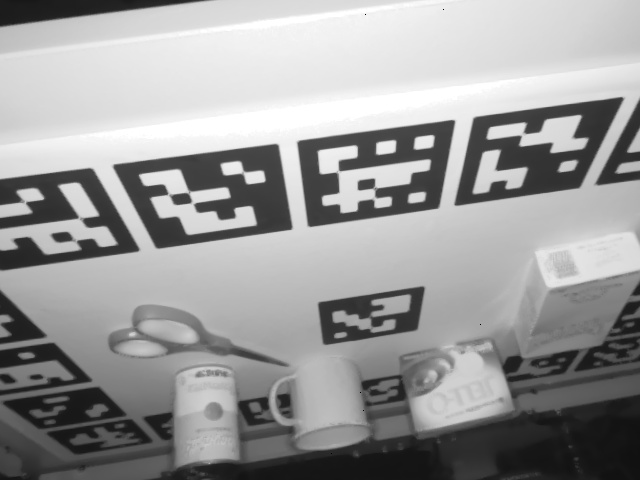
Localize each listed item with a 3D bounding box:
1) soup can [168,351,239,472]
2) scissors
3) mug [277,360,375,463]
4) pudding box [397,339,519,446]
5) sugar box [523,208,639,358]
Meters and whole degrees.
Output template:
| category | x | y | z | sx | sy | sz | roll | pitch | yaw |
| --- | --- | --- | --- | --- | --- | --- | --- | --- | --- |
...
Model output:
| category | x | y | z | sx | sy | sz | roll | pitch | yaw |
| --- | --- | --- | --- | --- | --- | --- | --- | --- | --- |
| soup can | -0.120 | 0.173 | 0.703 | 0.068 | 0.102 | 0.067 | -7 | 144 | -4 |
| scissors | -0.107 | 0.086 | 0.650 | 0.205 | 0.016 | 0.086 | 27 | 120 | -37 |
| mug | -0.002 | 0.179 | 0.742 | 0.092 | 0.082 | 0.118 | -34 | 138 | 24 |
| pudding box | 0.146 | 0.164 | 0.744 | 0.113 | 0.090 | 0.038 | -13 | 136 | 5 |
| sugar box | 0.254 | 0.048 | 0.668 | 0.093 | 0.045 | 0.175 | -12 | 141 | -1 |
